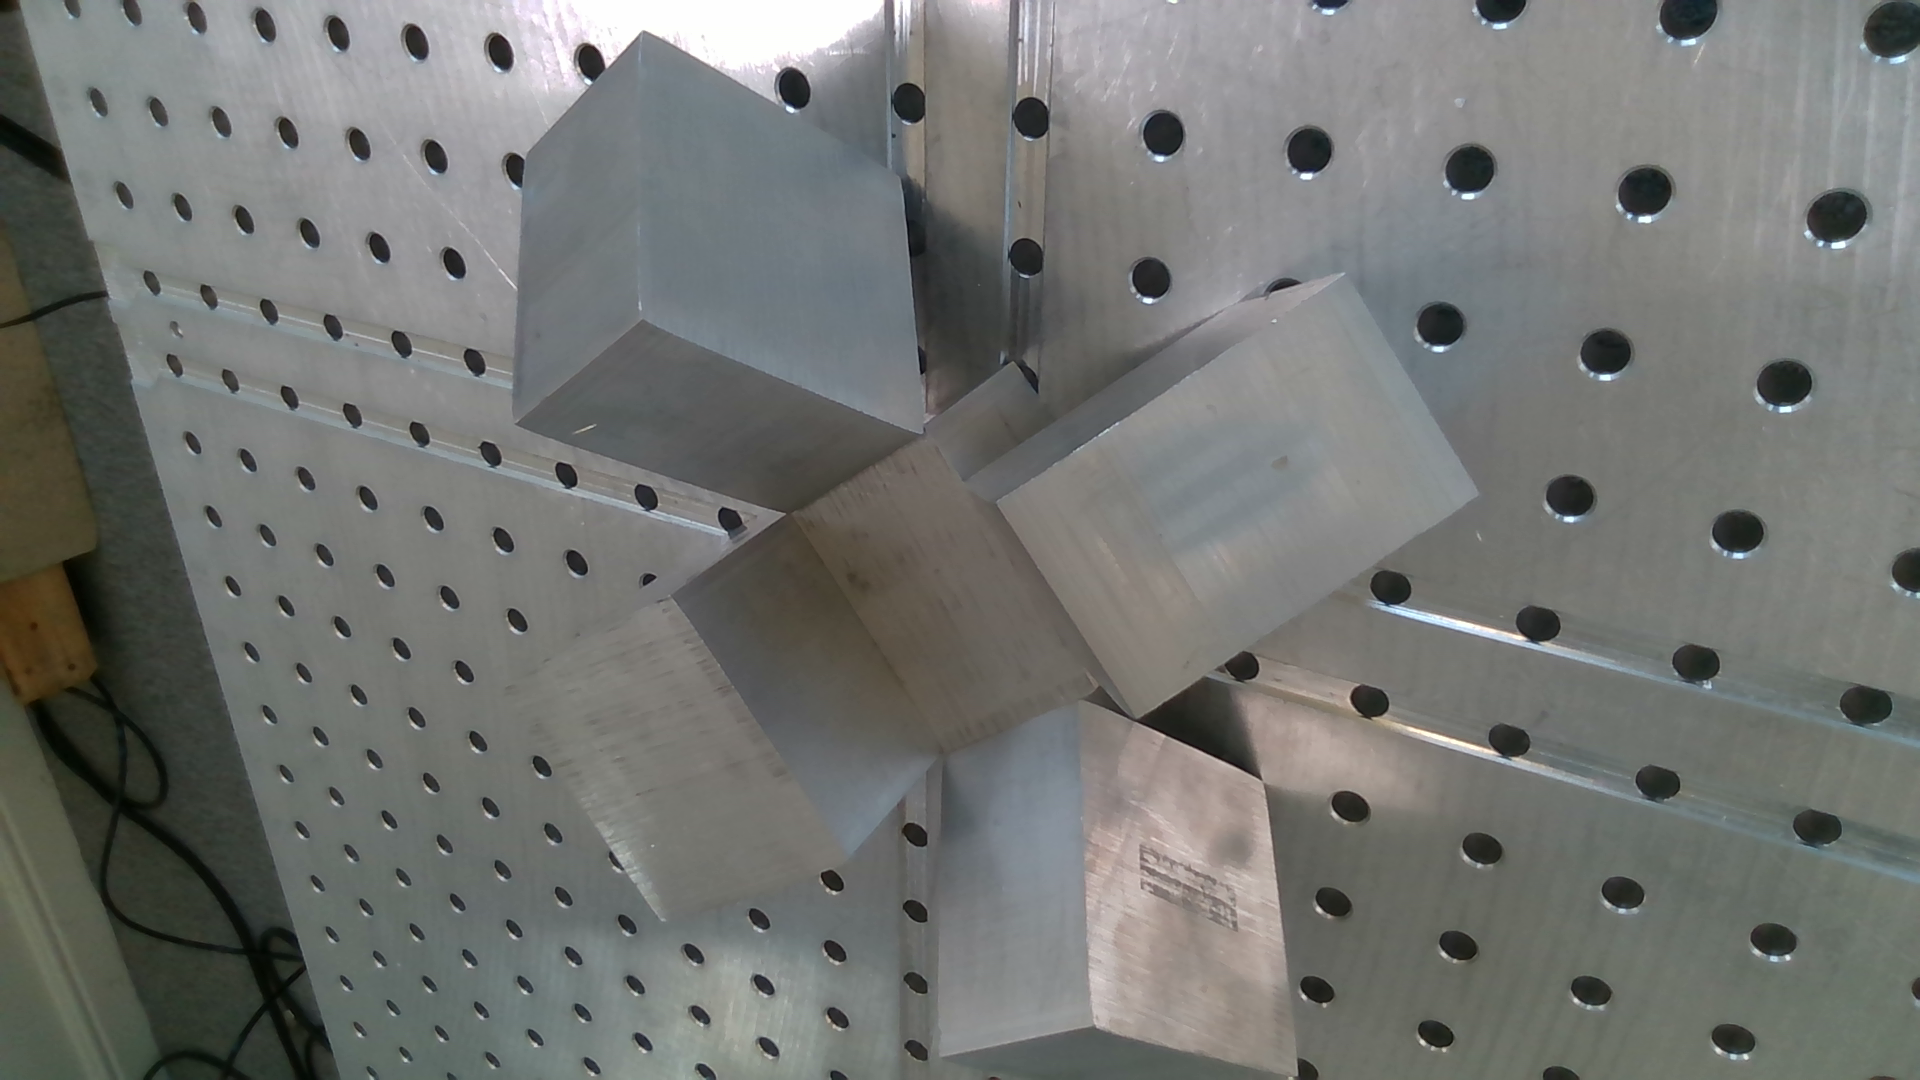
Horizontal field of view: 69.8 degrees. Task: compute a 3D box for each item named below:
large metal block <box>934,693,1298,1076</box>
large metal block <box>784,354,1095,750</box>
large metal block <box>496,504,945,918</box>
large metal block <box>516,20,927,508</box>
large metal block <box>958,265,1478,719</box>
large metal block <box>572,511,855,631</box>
[{"bbox_3d":[0.040,0.097,0.364,0.080,0.080,0.050,27,140,-36],"label":"large metal block"},{"bbox_3d":[-0.002,0.008,0.381,0.080,0.050,0.080,-28,99,39],"label":"large metal block"},{"bbox_3d":[-0.066,0.049,0.376,0.080,0.050,0.080,-27,100,39],"label":"large metal block"},{"bbox_3d":[-0.058,-0.063,0.337,0.050,0.080,0.080,-28,57,38],"label":"large metal block"},{"bbox_3d":[0.049,-0.012,0.299,0.080,0.080,0.050,-33,97,0],"label":"large metal block"},{"bbox_3d":[-0.060,0.037,0.431,0.080,0.050,0.080,-26,101,37],"label":"large metal block"}]
